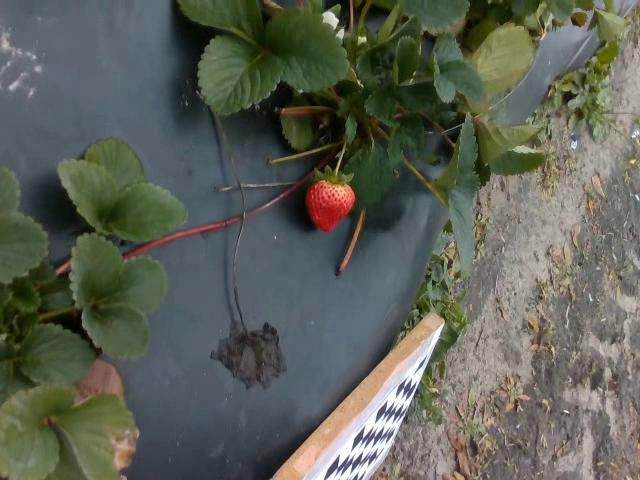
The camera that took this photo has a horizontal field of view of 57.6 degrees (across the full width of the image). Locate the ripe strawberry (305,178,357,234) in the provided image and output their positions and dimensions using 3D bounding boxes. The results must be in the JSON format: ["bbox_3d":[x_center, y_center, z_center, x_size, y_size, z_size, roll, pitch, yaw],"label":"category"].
[{"bbox_3d":[0.012,-0.033,0.587,0.049,0.065,0.061,25,26,25],"label":"ripe strawberry"}]
